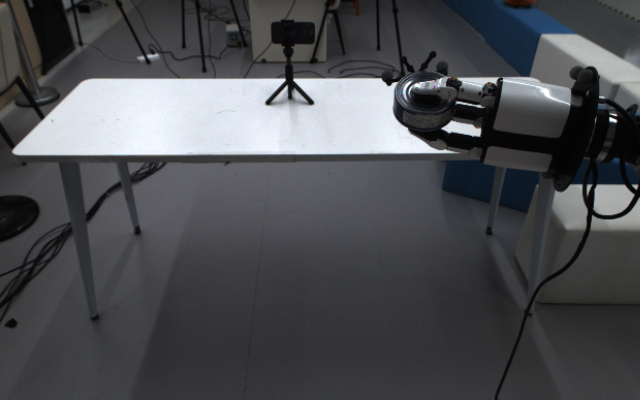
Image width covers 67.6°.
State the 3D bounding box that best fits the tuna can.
[{"bbox_3d":[0.146,-0.139,0.667,0.085,0.034,0.085,-3,59,5],"label":"tuna can"}]
